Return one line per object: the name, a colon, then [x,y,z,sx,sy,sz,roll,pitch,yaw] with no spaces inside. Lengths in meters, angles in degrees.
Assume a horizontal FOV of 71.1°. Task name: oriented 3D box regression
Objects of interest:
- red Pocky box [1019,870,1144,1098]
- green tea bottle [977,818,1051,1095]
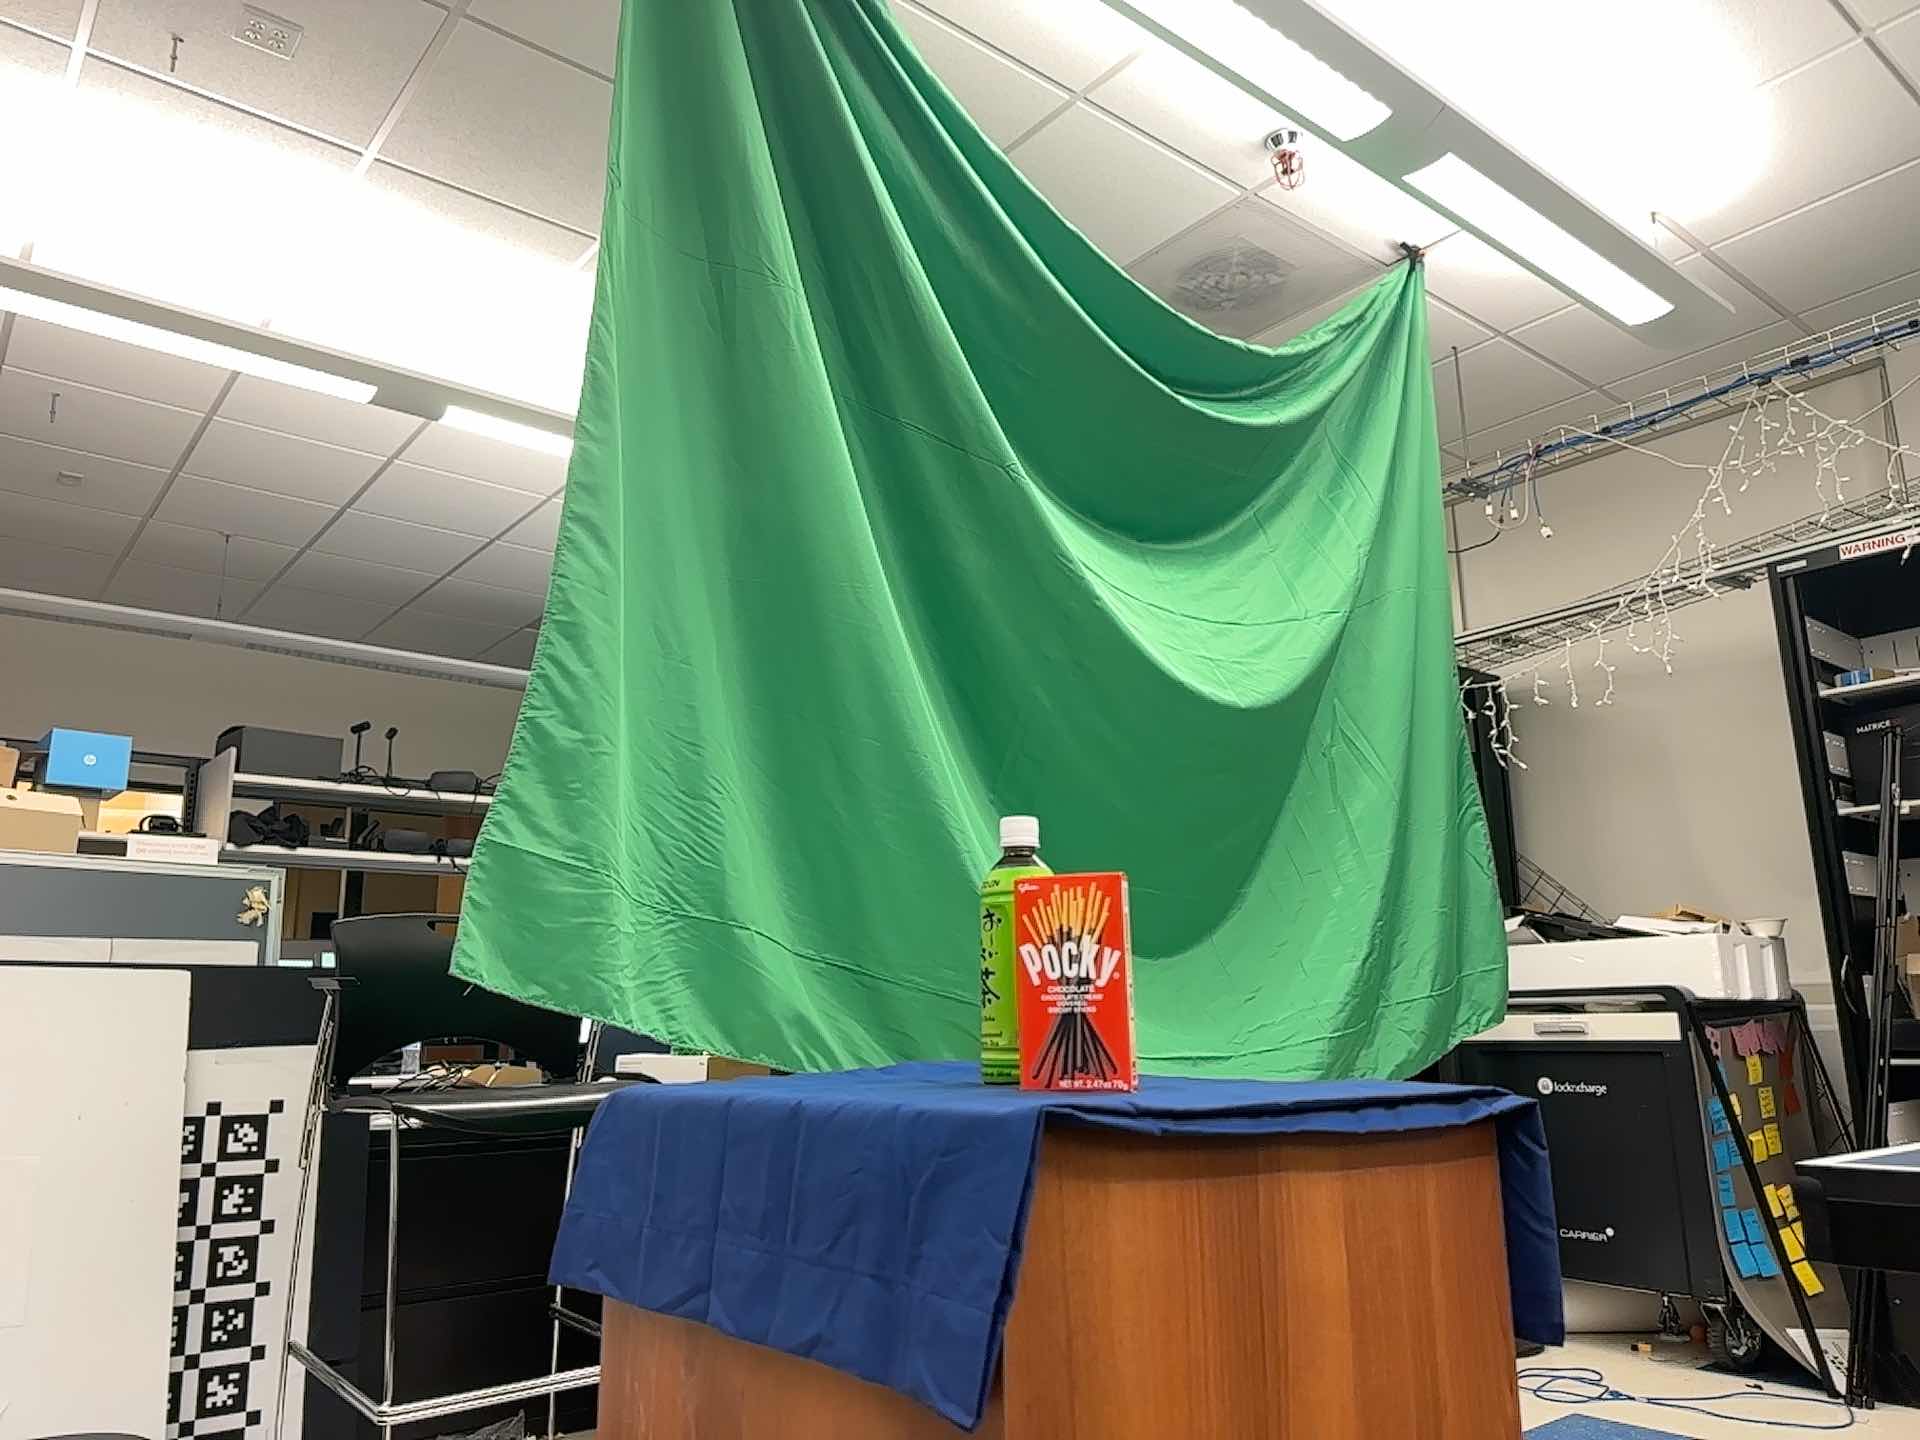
red Pocky box: [0.084,0.184,0.944,0.083,0.155,0.028,-5,-11,22]
green tea bottle: [0.047,0.184,1.058,0.073,0.212,0.073,-1,-13,0]
